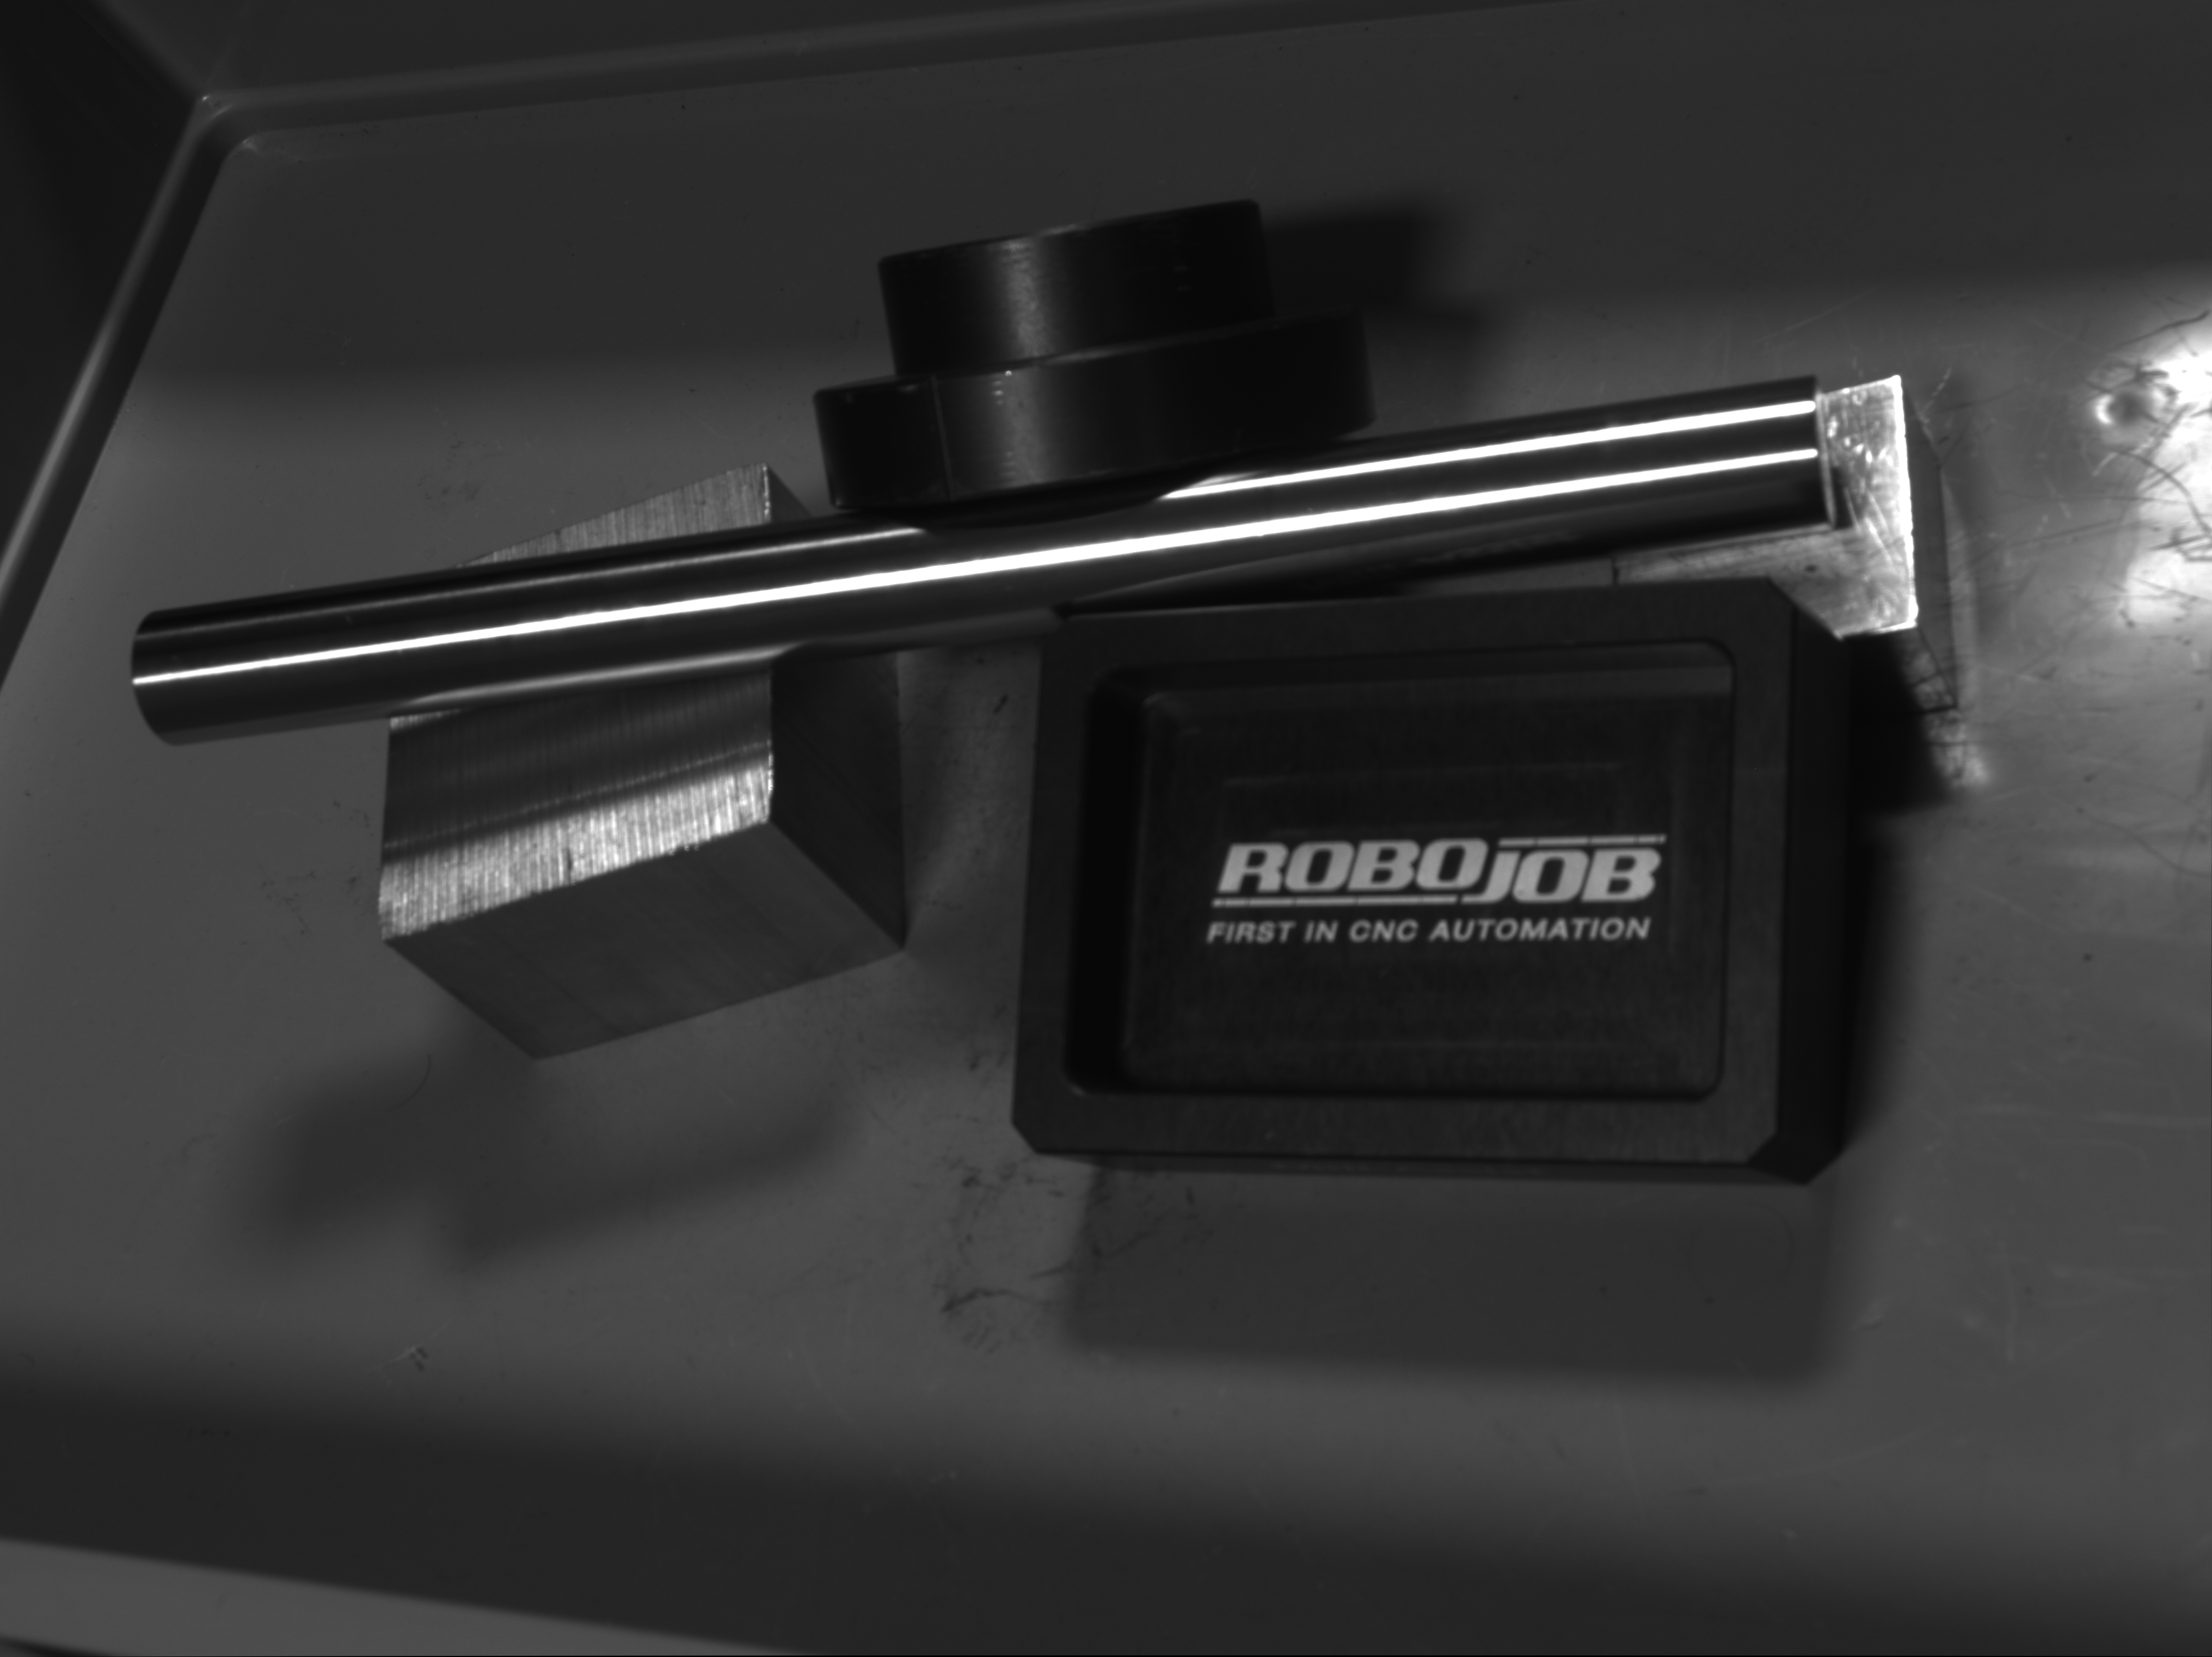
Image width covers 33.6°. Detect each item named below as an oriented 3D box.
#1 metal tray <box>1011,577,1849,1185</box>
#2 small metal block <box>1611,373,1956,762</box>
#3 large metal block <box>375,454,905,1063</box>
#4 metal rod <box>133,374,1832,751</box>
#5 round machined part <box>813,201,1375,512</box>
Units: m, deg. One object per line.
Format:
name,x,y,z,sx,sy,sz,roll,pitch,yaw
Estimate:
metal tray,0.051,0.010,0.588,0.130,0.030,0.090,-1,80,27
small metal block,0.112,-0.043,0.609,0.050,0.025,0.050,-11,57,22
large metal block,-0.085,-0.012,0.679,0.080,0.050,0.080,-17,55,19
metal rod,-0.028,-0.043,0.627,0.300,0.025,0.025,-7,58,16
round machined part,-0.004,-0.085,0.648,0.098,0.098,0.042,-5,100,26
